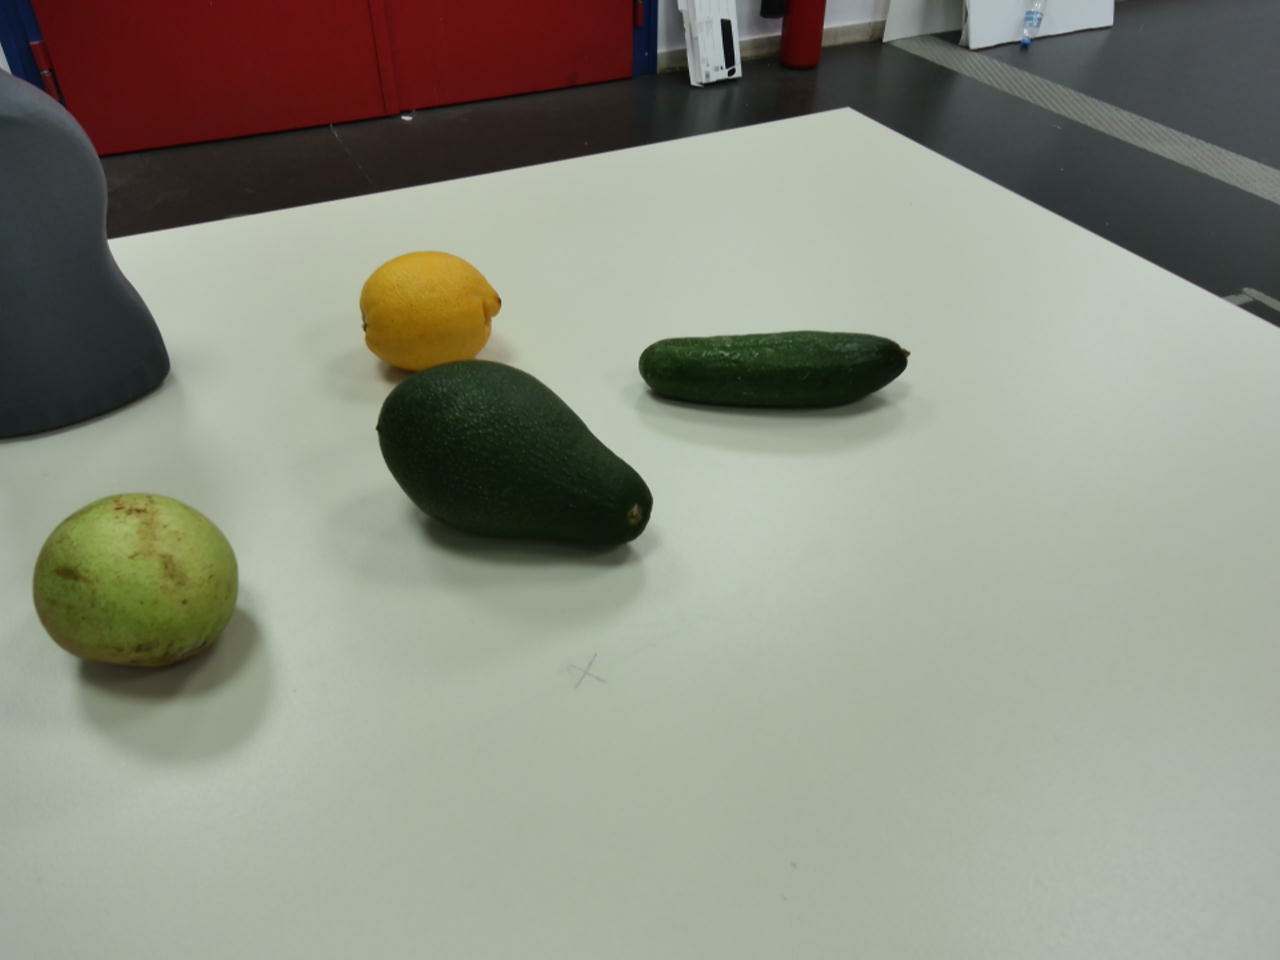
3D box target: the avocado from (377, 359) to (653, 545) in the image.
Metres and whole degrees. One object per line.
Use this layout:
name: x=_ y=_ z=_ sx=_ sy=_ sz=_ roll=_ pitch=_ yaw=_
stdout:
avocado: x=-0.054 y=-0.009 z=0.407 sx=0.110 sy=0.071 sz=0.072 roll=28 pitch=45 yaw=30
